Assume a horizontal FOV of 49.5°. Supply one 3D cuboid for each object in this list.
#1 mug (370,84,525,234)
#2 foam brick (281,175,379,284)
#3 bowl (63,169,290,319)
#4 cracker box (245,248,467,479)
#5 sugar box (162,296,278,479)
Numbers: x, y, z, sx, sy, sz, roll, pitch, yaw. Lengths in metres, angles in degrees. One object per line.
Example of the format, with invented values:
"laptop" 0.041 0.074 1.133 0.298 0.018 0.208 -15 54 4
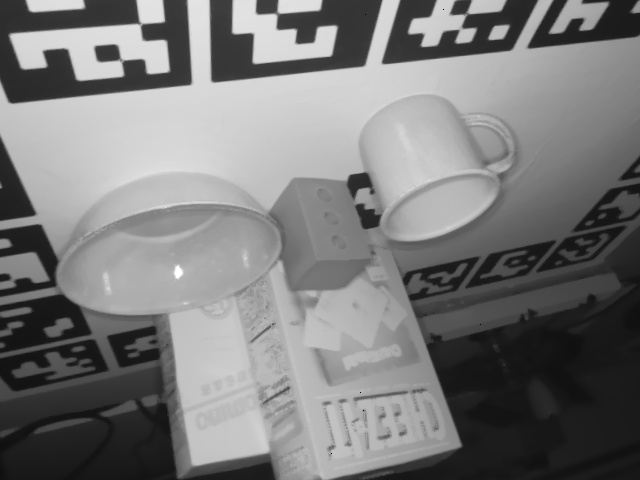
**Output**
"mug" 0.098 -0.064 0.520 0.118 0.081 0.092 -15 157 -8
"foam brick" 0.006 -0.008 0.579 0.053 0.078 0.050 -1 146 -28
"bowl" -0.107 -0.003 0.519 0.163 0.055 0.160 -14 148 -8
"cracker box" 0.029 0.103 0.628 0.166 0.214 0.071 11 141 -38
"sugar box" -0.084 0.114 0.619 0.094 0.177 0.044 4 143 -32
